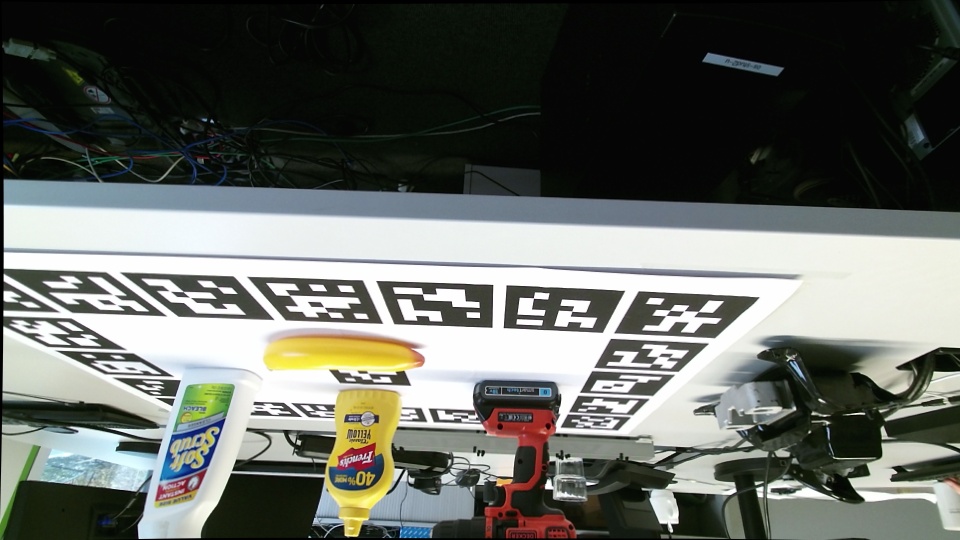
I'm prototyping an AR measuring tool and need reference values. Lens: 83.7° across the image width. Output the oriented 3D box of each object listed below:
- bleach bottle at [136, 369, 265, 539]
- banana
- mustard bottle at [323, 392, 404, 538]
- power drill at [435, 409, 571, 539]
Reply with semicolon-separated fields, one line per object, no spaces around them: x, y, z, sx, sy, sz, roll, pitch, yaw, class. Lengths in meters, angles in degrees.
-0.363;0.258;0.691;0.103;0.249;0.068;7;149;-5;bleach bottle
-0.165;0.105;0.606;0.198;0.038;0.074;-3;147;5;banana
-0.169;0.272;0.756;0.096;0.190;0.058;-1;149;10;mustard bottle
0.019;0.281;0.693;0.185;0.186;0.057;-4;148;5;power drill
